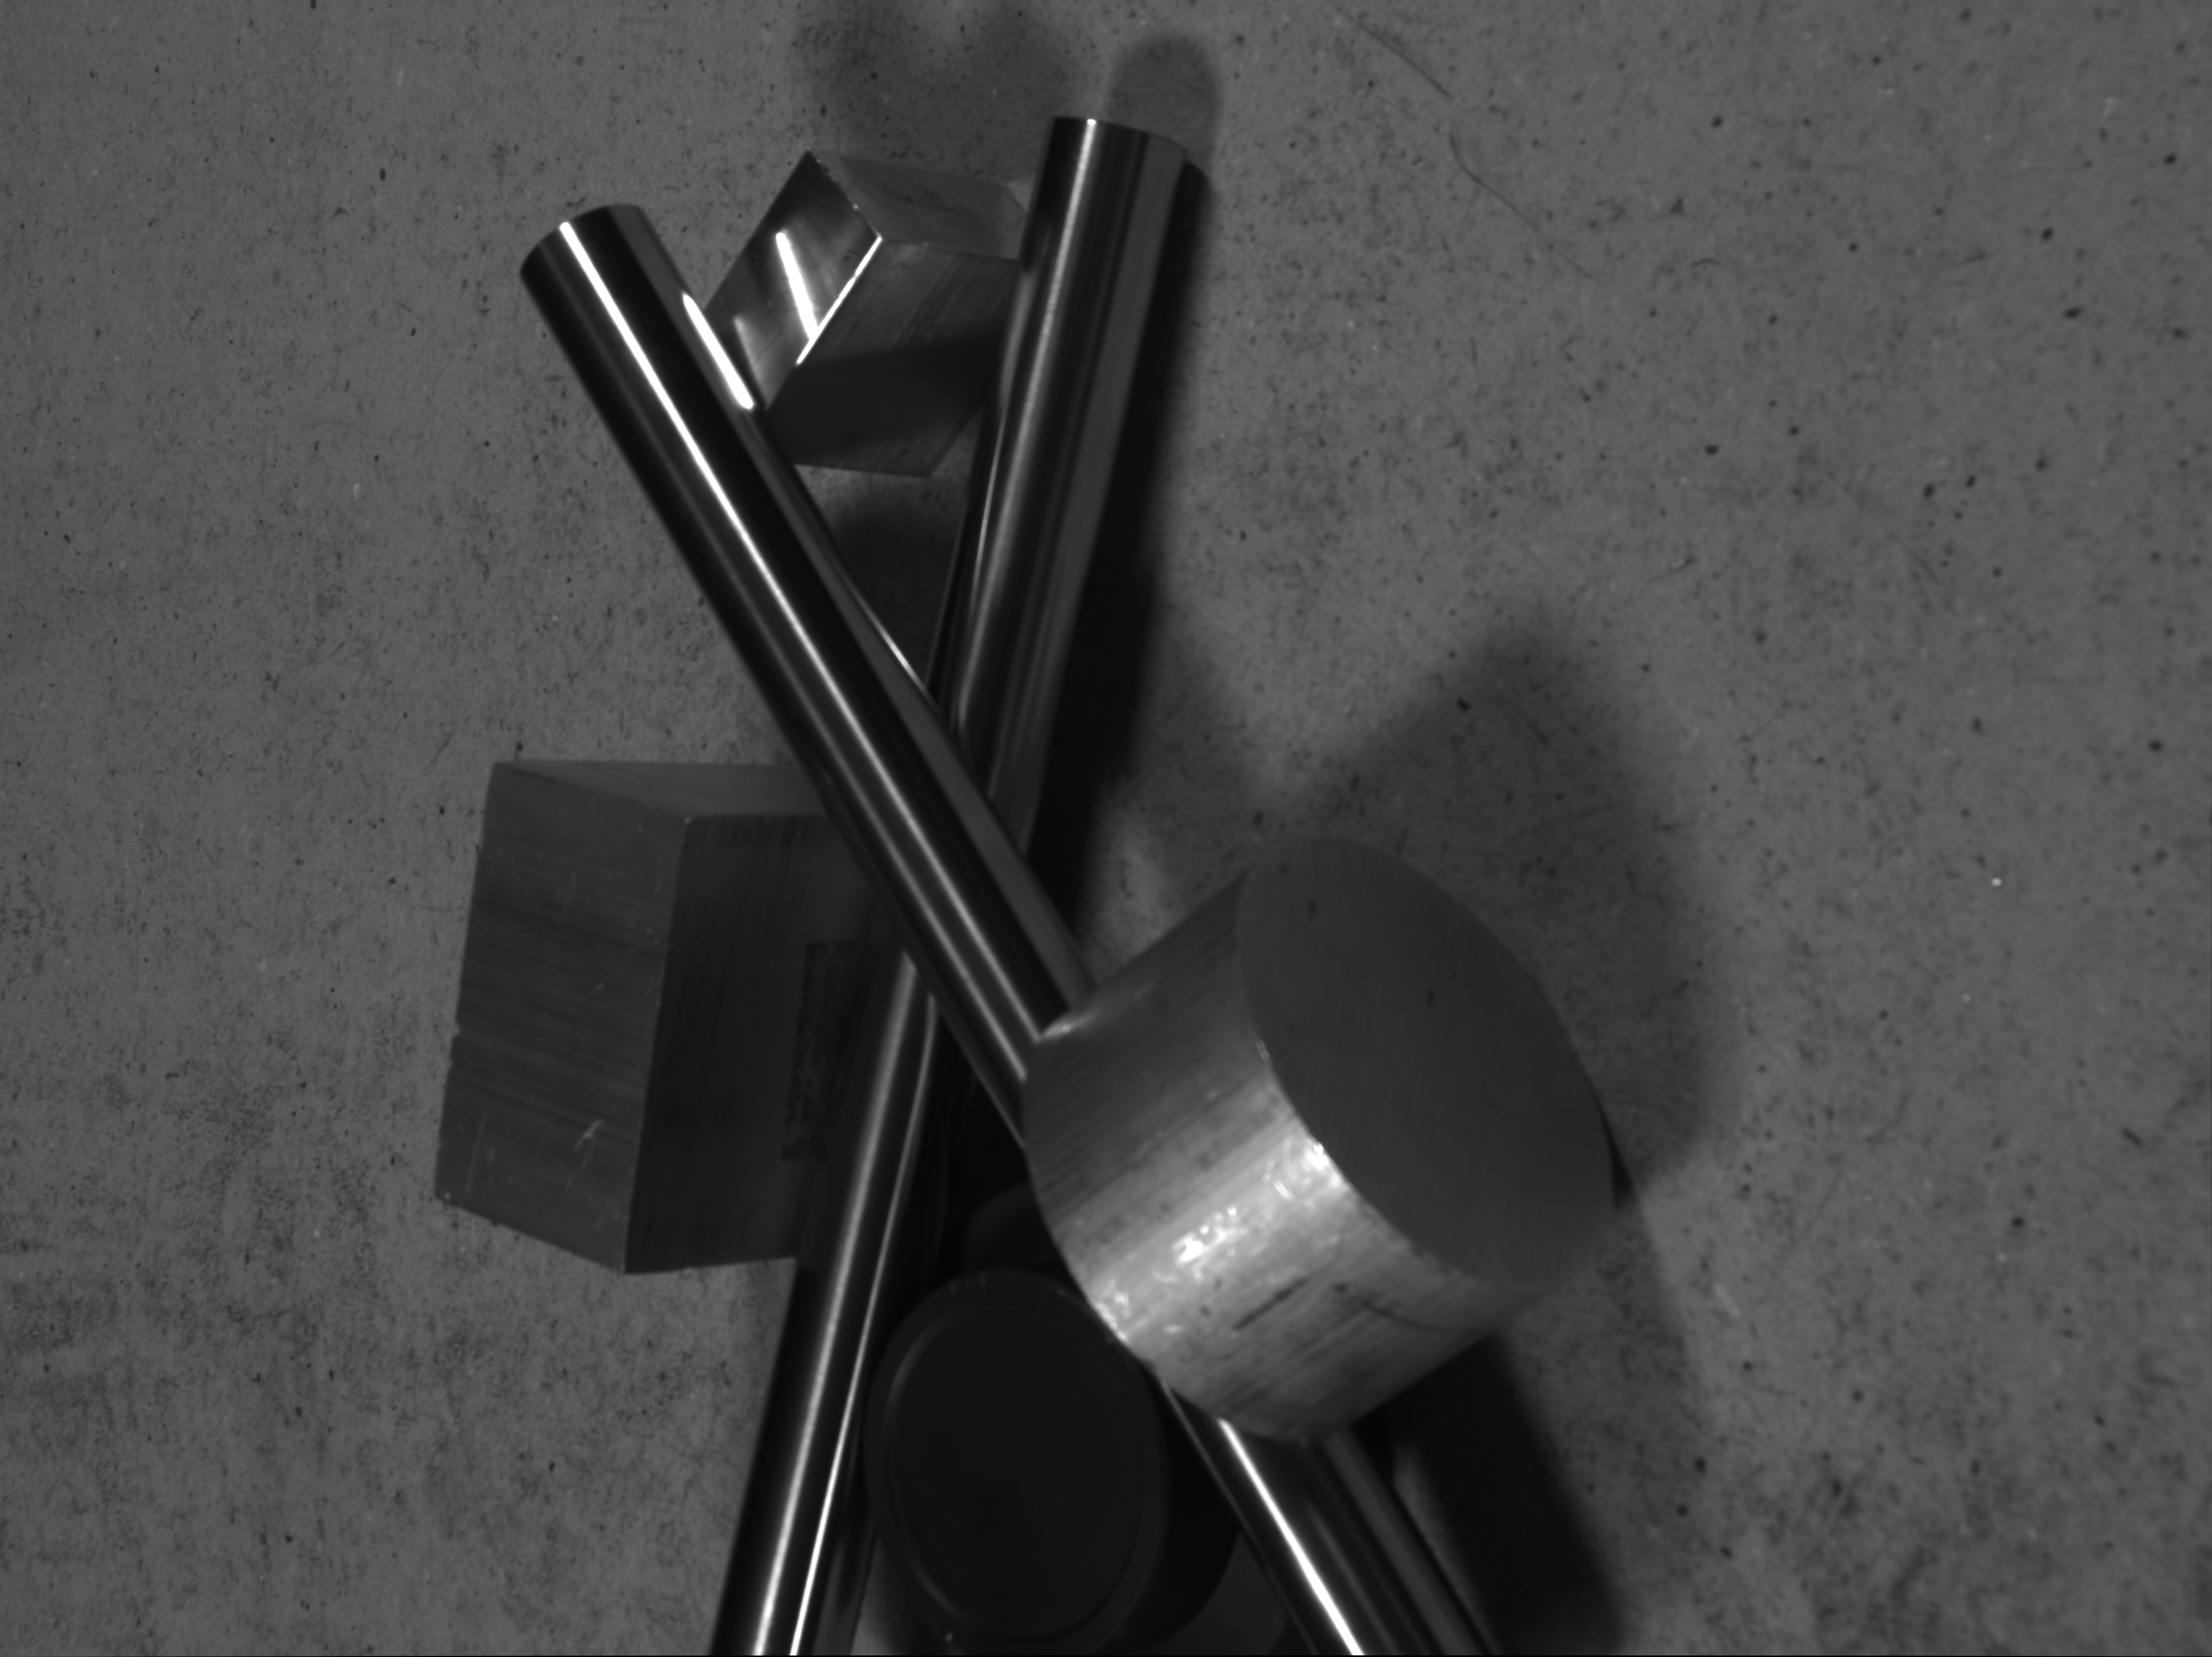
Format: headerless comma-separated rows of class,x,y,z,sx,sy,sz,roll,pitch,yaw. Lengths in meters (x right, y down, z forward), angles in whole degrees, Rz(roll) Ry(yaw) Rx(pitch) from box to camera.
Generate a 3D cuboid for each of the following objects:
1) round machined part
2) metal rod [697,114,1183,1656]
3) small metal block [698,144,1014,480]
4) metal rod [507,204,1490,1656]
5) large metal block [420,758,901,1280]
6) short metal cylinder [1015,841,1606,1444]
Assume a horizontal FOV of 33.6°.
round machined part,-0.004,0.109,0.629,0.098,0.042,0.098,0,90,39
metal rod,-0.032,0.025,0.643,0.025,0.025,0.300,15,93,38
small metal block,-0.044,-0.091,0.656,0.025,0.050,0.050,52,120,27
metal rod,-0.018,0.024,0.607,0.025,0.025,0.300,-39,75,32
large metal block,-0.071,0.032,0.659,0.050,0.080,0.080,15,99,38
short metal cylinder,0.032,0.049,0.575,0.050,0.080,0.080,-39,66,32
